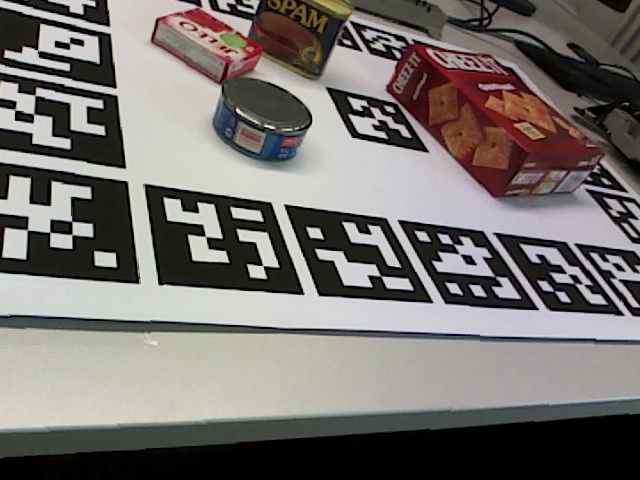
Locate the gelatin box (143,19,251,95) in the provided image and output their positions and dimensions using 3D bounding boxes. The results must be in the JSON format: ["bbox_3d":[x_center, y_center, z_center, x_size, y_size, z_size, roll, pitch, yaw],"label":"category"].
[{"bbox_3d":[-0.128,-0.196,0.654,0.089,0.030,0.073,34,33,4],"label":"gelatin box"}]

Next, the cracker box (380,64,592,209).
[{"bbox_3d":[0.205,-0.134,0.768,0.163,0.072,0.215,-7,46,-41],"label":"cracker box"}]

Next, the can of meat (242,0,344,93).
[{"bbox_3d":[-0.036,-0.231,0.726,0.102,0.084,0.058,24,35,-3],"label":"can of meat"}]

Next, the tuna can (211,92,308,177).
[{"bbox_3d":[-0.056,-0.098,0.570,0.085,0.034,0.086,17,40,-15],"label":"tuna can"}]
